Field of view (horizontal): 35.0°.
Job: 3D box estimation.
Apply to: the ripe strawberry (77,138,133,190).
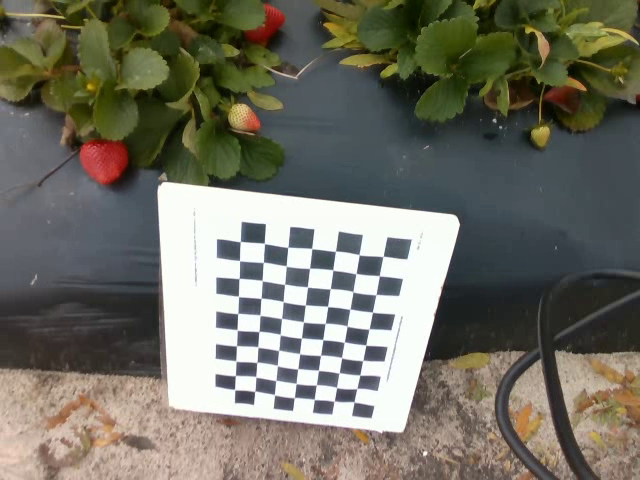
[{"bbox_3d":[-0.166,-0.075,0.863,0.037,0.046,0.036,-34,-32,19],"label":"ripe strawberry"}]
